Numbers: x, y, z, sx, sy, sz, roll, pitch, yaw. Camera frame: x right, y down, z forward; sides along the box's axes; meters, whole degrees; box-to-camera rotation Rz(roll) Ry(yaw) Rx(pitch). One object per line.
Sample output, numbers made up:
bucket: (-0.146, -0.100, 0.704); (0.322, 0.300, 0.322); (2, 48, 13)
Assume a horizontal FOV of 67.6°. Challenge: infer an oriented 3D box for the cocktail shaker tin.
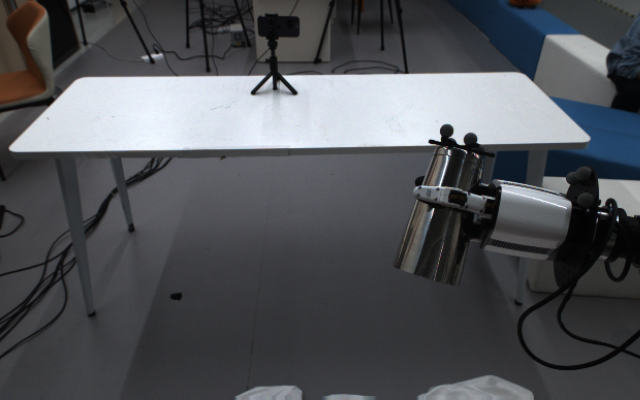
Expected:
cocktail shaker tin: (0.166, 0.019, 0.648); (0.093, 0.170, 0.093); (16, -2, 1)
